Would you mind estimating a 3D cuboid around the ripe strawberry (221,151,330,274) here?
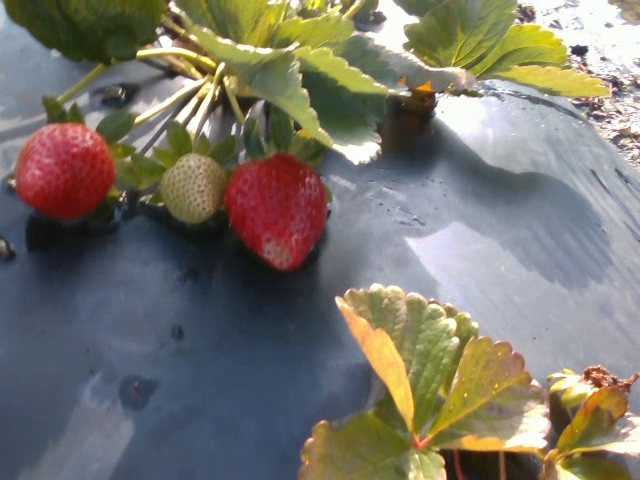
[{"bbox_3d":[-0.018,-0.010,0.259,0.048,0.065,0.050,-24,-38,23],"label":"ripe strawberry"}]
